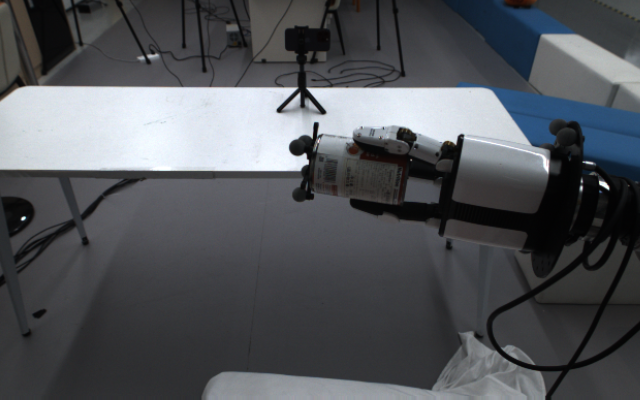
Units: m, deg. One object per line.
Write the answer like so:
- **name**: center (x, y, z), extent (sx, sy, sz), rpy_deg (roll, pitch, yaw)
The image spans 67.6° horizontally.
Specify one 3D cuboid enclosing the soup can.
- **soup can**: center (0.048, -0.034, 0.531), extent (0.101, 0.067, 0.067), rpy_deg (9, 35, 9)
